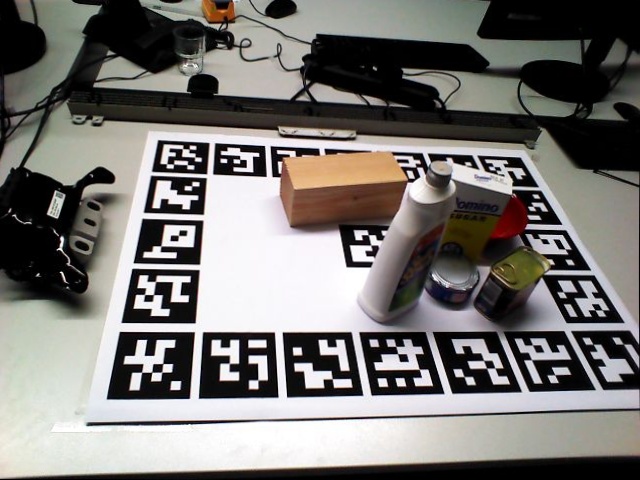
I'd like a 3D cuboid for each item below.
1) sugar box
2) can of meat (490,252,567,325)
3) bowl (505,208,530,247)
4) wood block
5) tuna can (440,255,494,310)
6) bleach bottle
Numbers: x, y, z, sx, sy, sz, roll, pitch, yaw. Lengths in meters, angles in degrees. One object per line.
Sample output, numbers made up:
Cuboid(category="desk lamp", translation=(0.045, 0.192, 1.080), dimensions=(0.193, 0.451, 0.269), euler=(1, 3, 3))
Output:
Cuboid(category="sugar box", translation=(0.252, -0.026, 0.811), dimensions=(0.093, 0.177, 0.045), euler=(14, 46, 9))
Cuboid(category="can of meat", translation=(0.316, 0.074, 0.796), dimensions=(0.101, 0.084, 0.058), euler=(-22, 49, -30))
Cuboid(category="bowl", translation=(0.316, -0.037, 0.924), dimensions=(0.162, 0.055, 0.160), euler=(2, 44, -2))
Cuboid(category="wood block", translation=(0.057, -0.085, 0.909), dimensions=(0.206, 0.090, 0.090), euler=(-5, 50, -16))
Cuboid(category="tuna can", translation=(0.227, 0.067, 0.814), dimensions=(0.086, 0.034, 0.085), euler=(4, 47, -5))
Cuboid(category="bleach bottle", translation=(0.144, 0.007, 0.710), dimensions=(0.102, 0.252, 0.068), euler=(-19, 50, -26))
